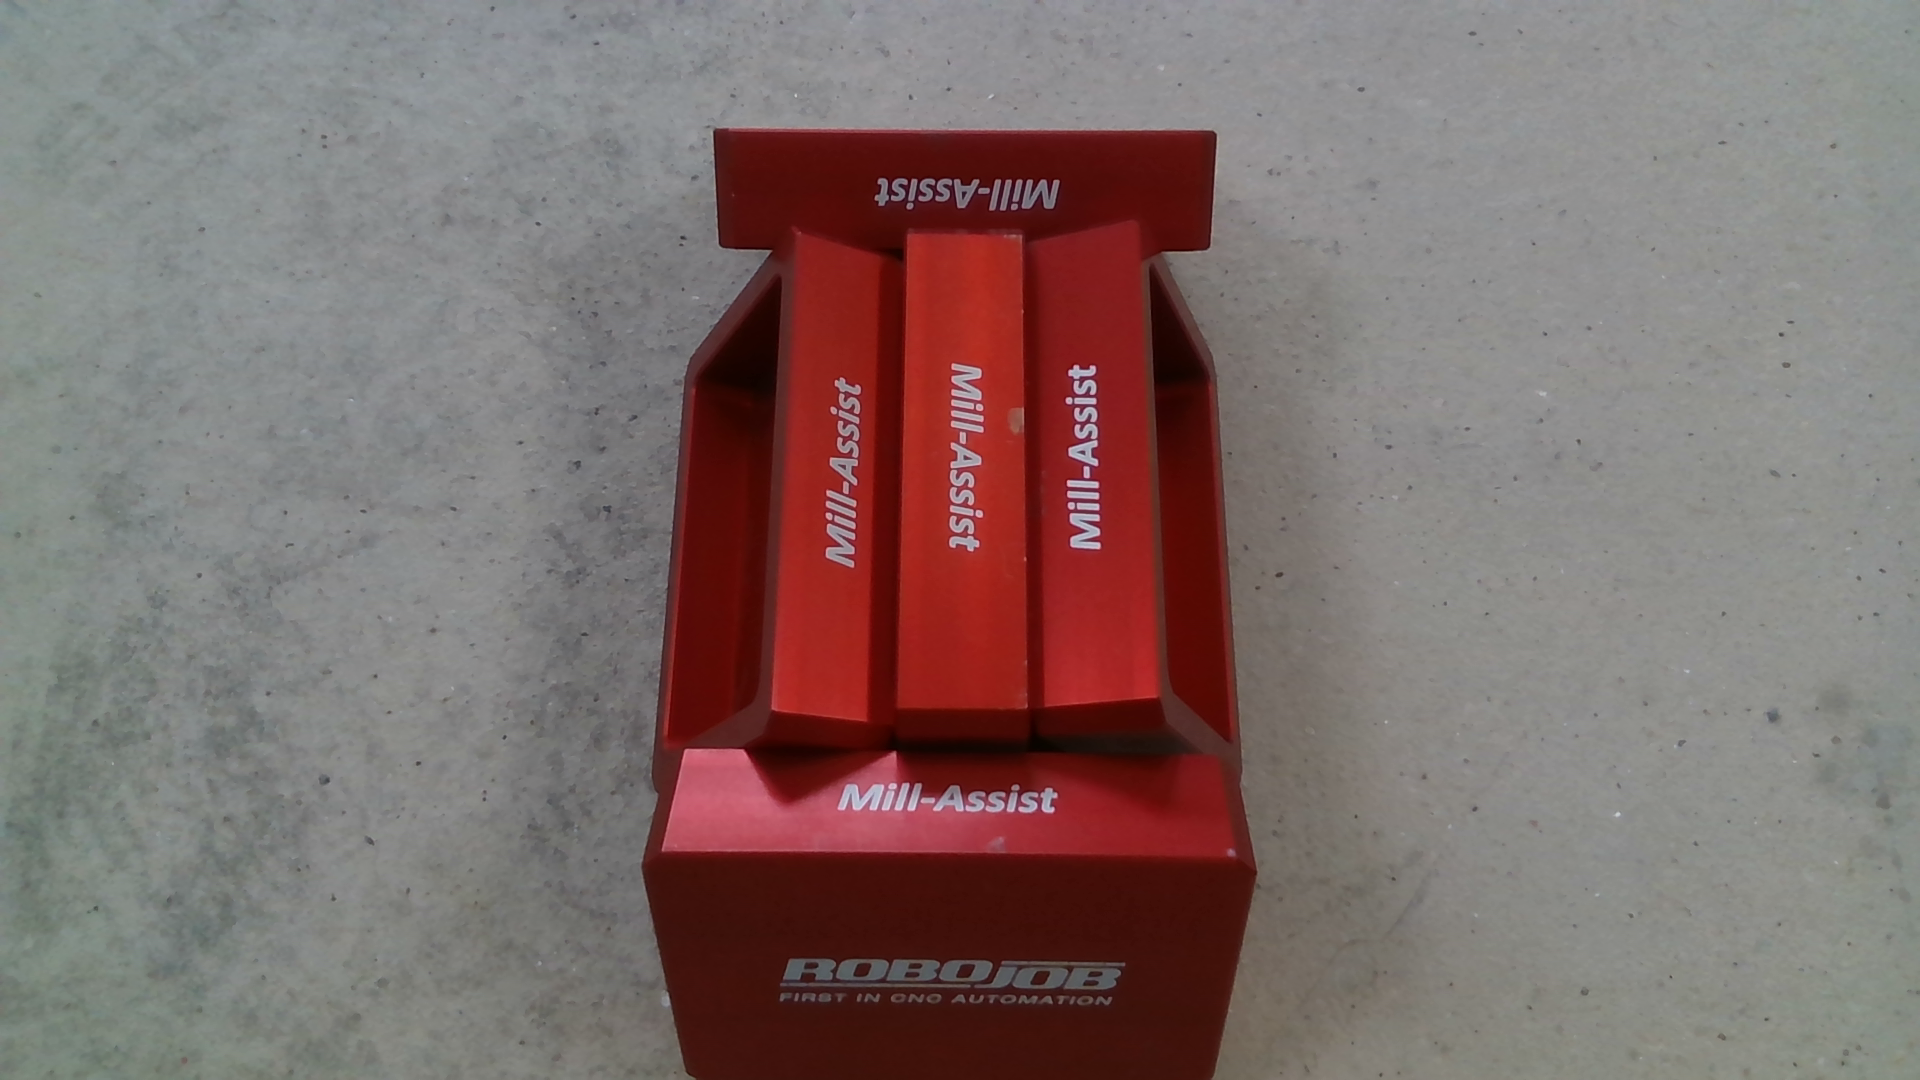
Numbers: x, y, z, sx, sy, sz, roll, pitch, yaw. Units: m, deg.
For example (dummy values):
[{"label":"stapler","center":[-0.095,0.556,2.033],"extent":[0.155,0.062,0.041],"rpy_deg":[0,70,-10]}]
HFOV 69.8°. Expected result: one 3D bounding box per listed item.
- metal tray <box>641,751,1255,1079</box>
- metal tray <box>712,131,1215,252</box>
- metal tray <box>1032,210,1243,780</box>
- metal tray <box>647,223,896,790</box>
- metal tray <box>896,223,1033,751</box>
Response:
[{"label":"metal tray","center":[-0.003,0.092,0.327],"extent":[0.130,0.090,0.030],"rpy_deg":[1,39,0]},{"label":"metal tray","center":[0.001,-0.103,0.398],"extent":[0.130,0.090,0.030],"rpy_deg":[0,107,0]},{"label":"metal tray","center":[0.047,-0.007,0.361],"extent":[0.030,0.090,0.130],"rpy_deg":[-8,69,21]},{"label":"metal tray","center":[-0.049,-0.004,0.361],"extent":[0.030,0.090,0.130],"rpy_deg":[11,68,-27]},{"label":"metal tray","center":[0.001,-0.005,0.362],"extent":[0.030,0.090,0.130],"rpy_deg":[0,71,0]}]
